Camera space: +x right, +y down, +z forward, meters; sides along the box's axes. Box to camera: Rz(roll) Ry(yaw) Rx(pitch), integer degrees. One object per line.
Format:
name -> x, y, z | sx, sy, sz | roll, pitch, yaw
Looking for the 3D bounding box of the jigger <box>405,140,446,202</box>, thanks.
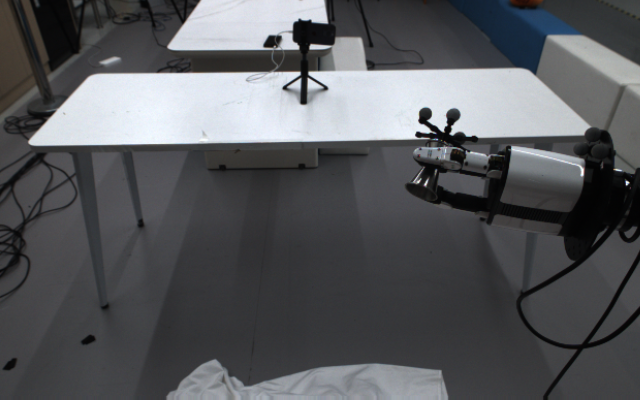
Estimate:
jigger -> 0.141, -0.042, 0.619 | 0.043, 0.043, 0.071 | 20, 73, 24
